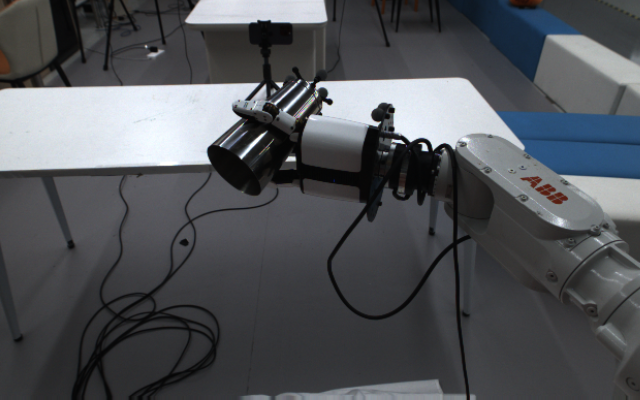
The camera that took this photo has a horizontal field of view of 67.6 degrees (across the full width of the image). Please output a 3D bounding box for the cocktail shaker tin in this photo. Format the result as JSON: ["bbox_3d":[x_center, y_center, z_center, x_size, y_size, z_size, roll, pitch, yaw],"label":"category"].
[{"bbox_3d":[-0.071,-0.103,0.689,0.093,0.093,0.170,23,57,27],"label":"cocktail shaker tin"}]
